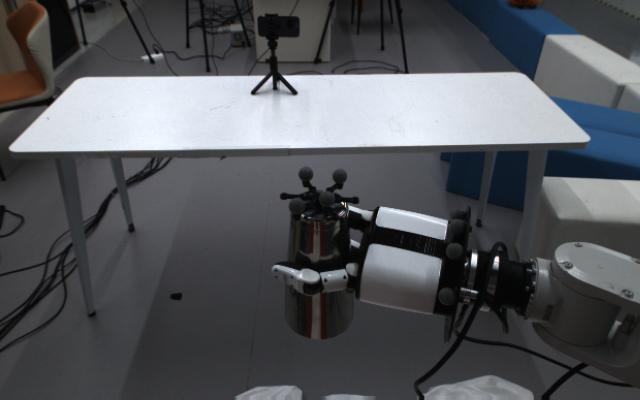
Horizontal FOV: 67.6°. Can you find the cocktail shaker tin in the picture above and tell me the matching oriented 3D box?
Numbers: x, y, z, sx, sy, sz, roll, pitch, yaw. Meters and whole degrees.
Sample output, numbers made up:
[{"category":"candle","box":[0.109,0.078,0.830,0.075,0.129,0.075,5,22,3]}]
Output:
[{"category":"cocktail shaker tin","box":[0.001,0.076,0.594,0.093,0.170,0.093,0,33,0]}]
